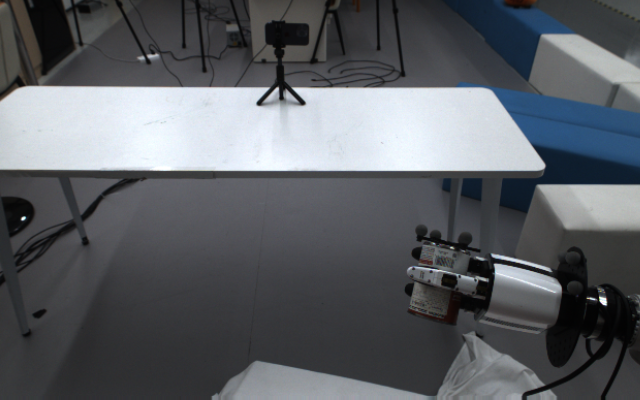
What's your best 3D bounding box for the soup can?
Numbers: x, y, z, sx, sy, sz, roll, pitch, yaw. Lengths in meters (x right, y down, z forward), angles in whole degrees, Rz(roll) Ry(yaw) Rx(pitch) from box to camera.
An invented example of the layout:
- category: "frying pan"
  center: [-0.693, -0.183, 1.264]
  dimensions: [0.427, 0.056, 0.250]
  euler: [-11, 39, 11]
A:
- category: "soup can"
  center: [0.168, 0.114, 0.672]
  dimensions: [0.067, 0.101, 0.067]
  euler: [13, -6, 1]
